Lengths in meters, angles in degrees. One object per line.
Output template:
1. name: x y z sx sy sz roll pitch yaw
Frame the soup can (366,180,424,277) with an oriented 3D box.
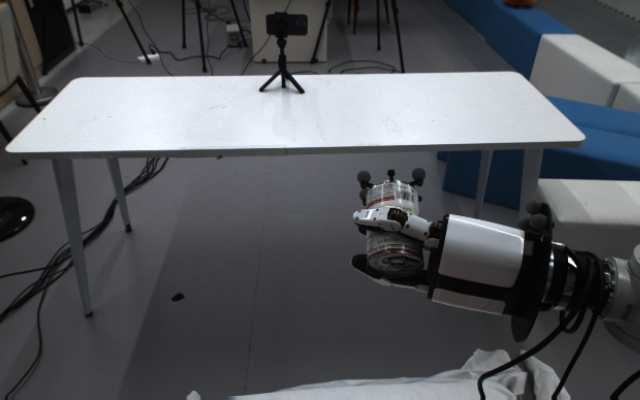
1. soup can: 0.091 0.035 0.589 0.067 0.067 0.101 3 57 1
